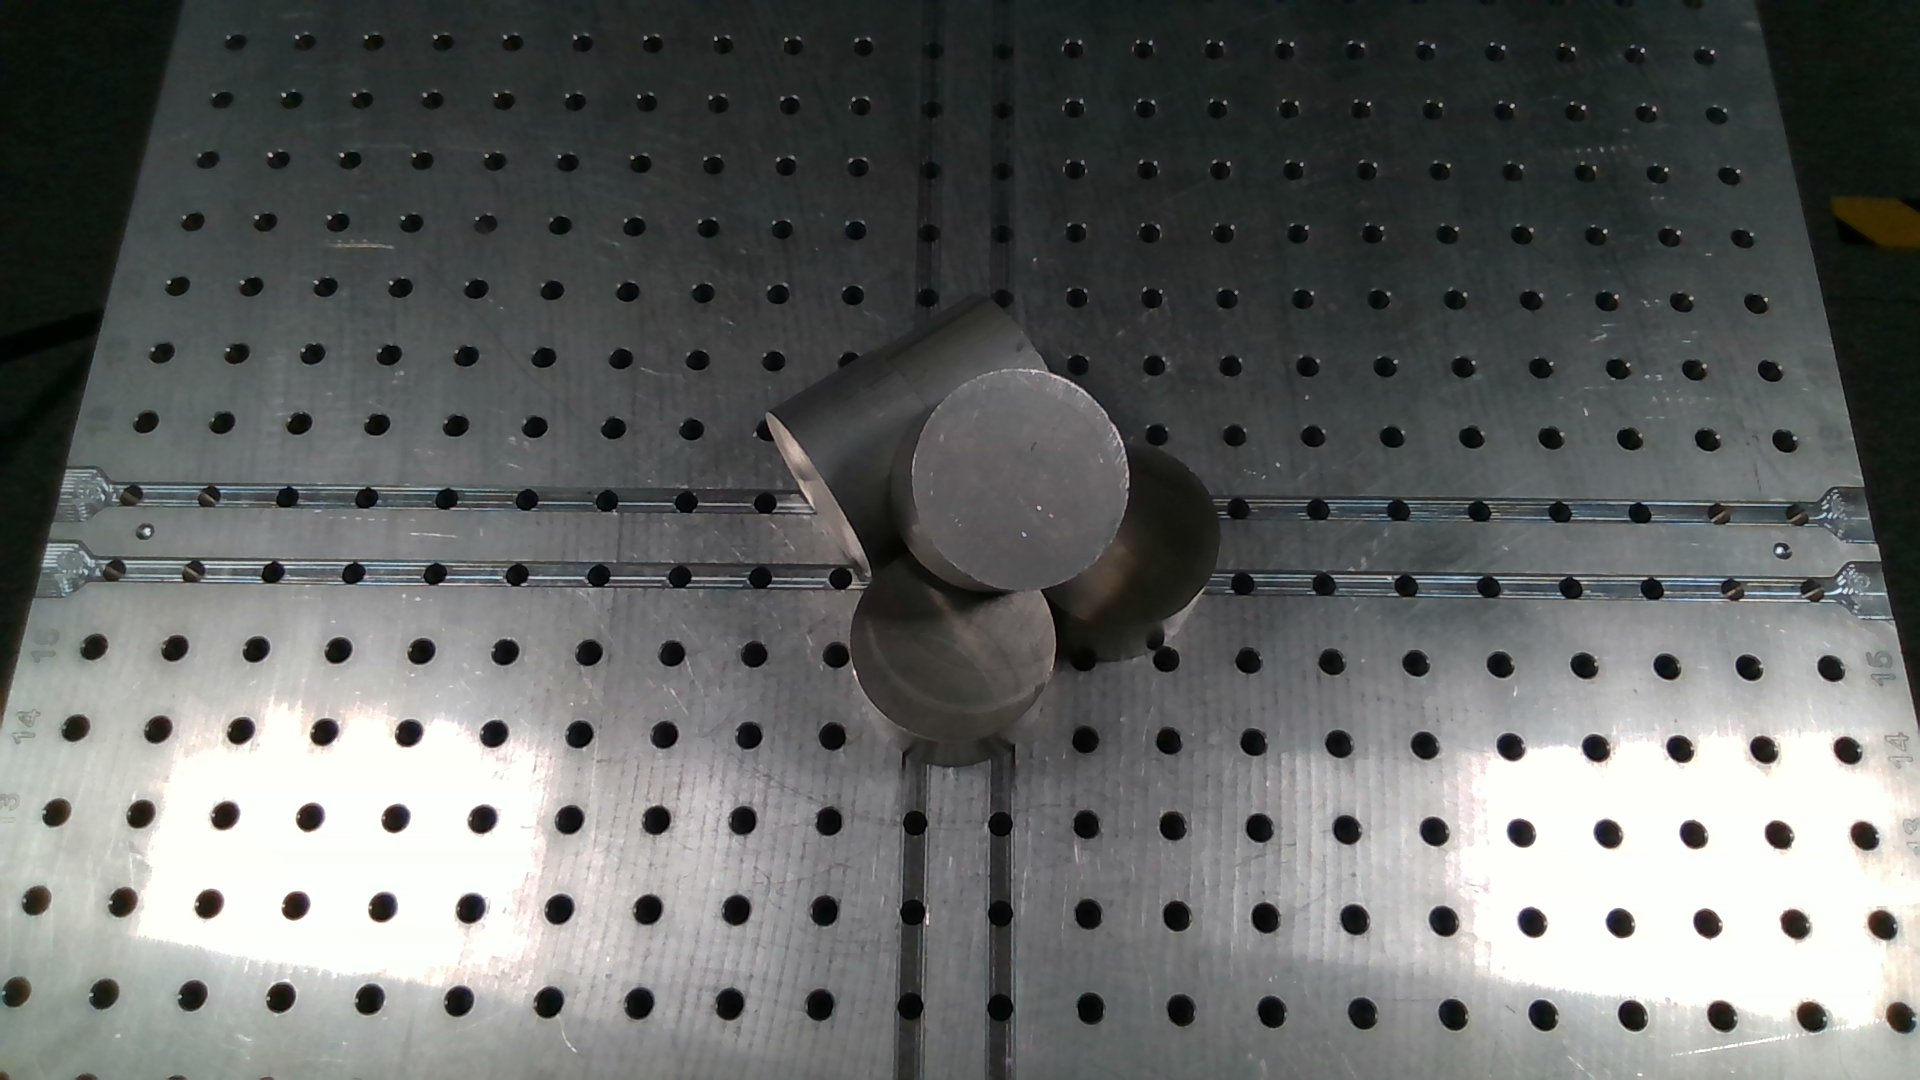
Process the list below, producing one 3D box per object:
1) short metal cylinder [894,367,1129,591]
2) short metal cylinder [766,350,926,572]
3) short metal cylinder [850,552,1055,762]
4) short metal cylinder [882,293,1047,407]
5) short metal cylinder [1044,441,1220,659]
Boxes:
[{"bbox_3d":[0.017,-0.021,0.516,0.080,0.050,0.080,0,88,-12],"label":"short metal cylinder"},{"bbox_3d":[-0.038,-0.032,0.572,0.050,0.080,0.080,-32,73,-11],"label":"short metal cylinder"},{"bbox_3d":[-0.003,0.047,0.559,0.080,0.050,0.080,0,70,0],"label":"short metal cylinder"},{"bbox_3d":[0.004,-0.057,0.582,0.050,0.080,0.080,-33,73,-11],"label":"short metal cylinder"},{"bbox_3d":[0.064,0.005,0.575,0.080,0.050,0.080,0,70,0],"label":"short metal cylinder"}]
